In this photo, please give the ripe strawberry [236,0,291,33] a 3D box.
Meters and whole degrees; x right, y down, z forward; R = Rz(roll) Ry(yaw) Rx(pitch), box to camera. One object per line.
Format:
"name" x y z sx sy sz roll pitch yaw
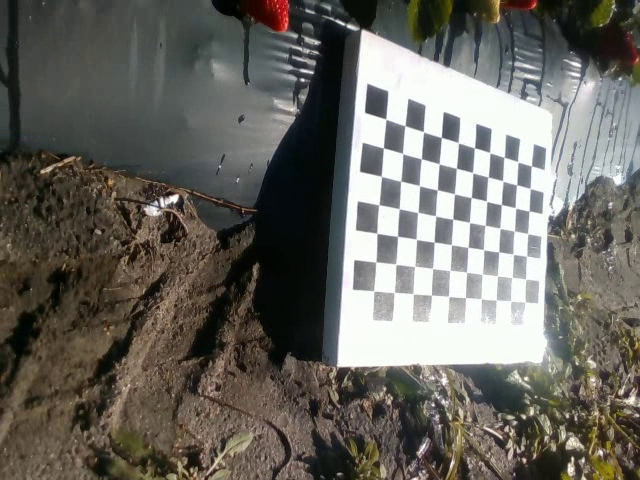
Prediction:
"ripe strawberry" -0.036 -0.164 0.425 0.039 0.053 0.040 -20 -5 -37
